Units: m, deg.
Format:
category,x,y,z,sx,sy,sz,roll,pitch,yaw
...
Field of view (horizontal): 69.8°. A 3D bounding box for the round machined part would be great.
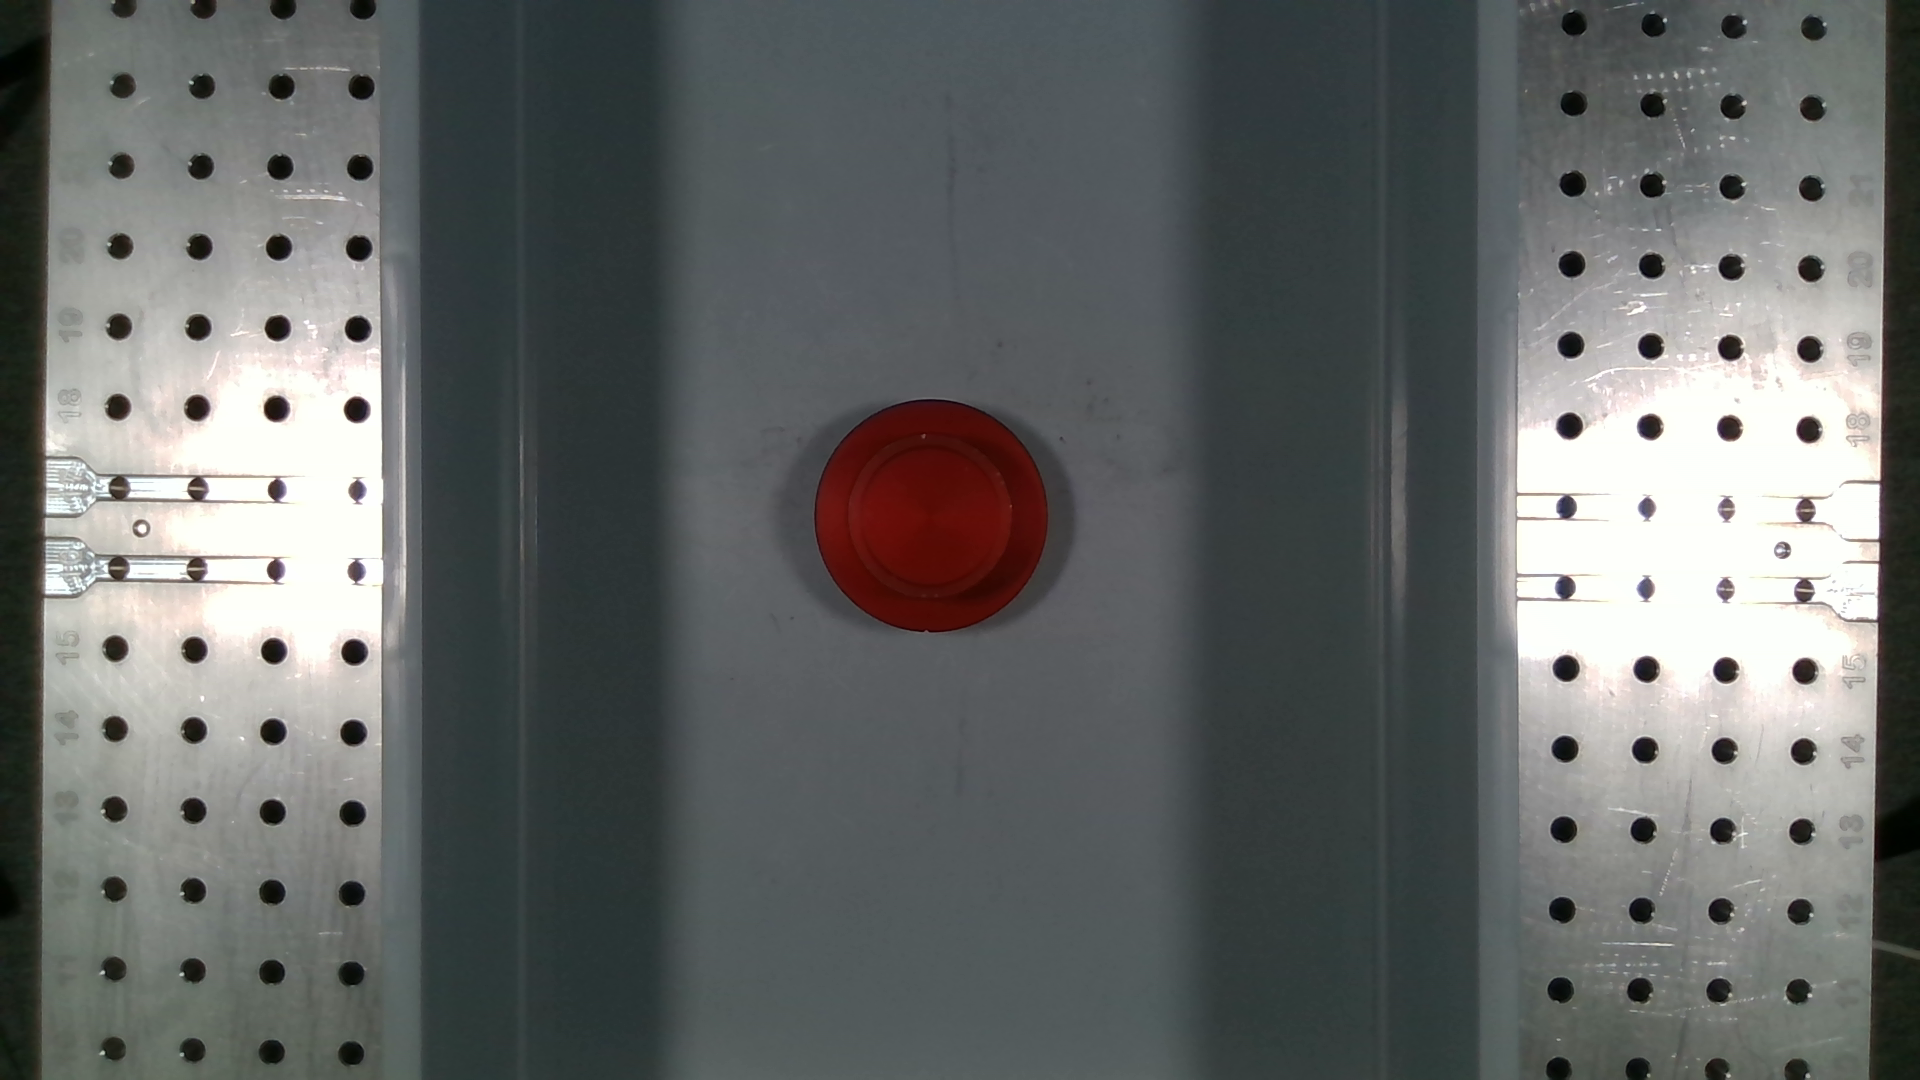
category,x,y,z,sx,sy,sz,roll,pitch,yaw
round machined part,-0.013,-0.010,0.575,0.098,0.042,0.098,0,90,0
